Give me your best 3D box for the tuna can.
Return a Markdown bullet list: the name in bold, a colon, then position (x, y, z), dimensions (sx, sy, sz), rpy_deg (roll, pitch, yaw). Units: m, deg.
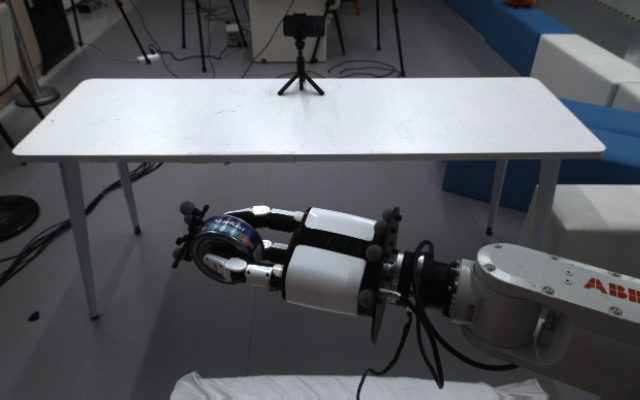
- **tuna can**: position (-0.110, 0.066, 0.587), dimensions (0.085, 0.085, 0.034), rpy_deg (9, 36, 10)
